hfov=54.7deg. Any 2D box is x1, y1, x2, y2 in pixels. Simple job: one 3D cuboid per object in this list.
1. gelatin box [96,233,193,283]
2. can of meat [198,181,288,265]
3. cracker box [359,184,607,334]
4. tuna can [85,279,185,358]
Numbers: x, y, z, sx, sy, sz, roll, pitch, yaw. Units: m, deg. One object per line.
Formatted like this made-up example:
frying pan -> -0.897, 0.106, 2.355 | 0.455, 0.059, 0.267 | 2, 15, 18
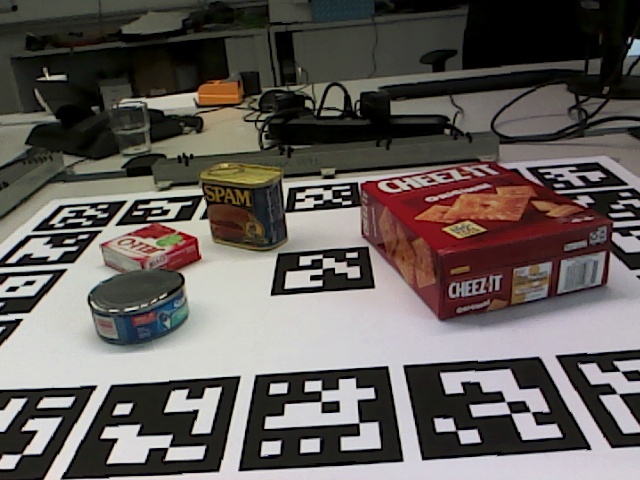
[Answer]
gelatin box -> -0.201, 0.023, 0.709 | 0.090, 0.030, 0.073 | 18, 29, 39
can of meat -> -0.090, -0.021, 0.739 | 0.102, 0.083, 0.057 | 8, 25, 31
cracker box -> 0.150, 0.006, 0.629 | 0.164, 0.072, 0.215 | -9, 21, -13
tuna can -> -0.170, 0.071, 0.573 | 0.086, 0.033, 0.086 | -6, 25, 2
